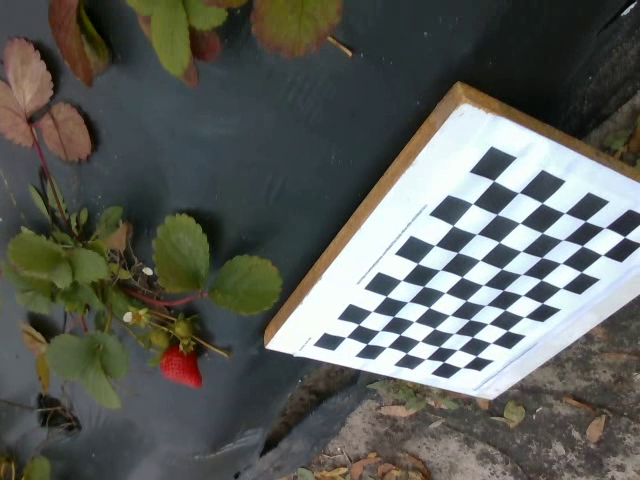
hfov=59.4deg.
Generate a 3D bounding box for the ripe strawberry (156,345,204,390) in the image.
[{"bbox_3d":[-0.040,0.036,0.153,0.017,0.018,0.014,42,26,12],"label":"ripe strawberry"}]
